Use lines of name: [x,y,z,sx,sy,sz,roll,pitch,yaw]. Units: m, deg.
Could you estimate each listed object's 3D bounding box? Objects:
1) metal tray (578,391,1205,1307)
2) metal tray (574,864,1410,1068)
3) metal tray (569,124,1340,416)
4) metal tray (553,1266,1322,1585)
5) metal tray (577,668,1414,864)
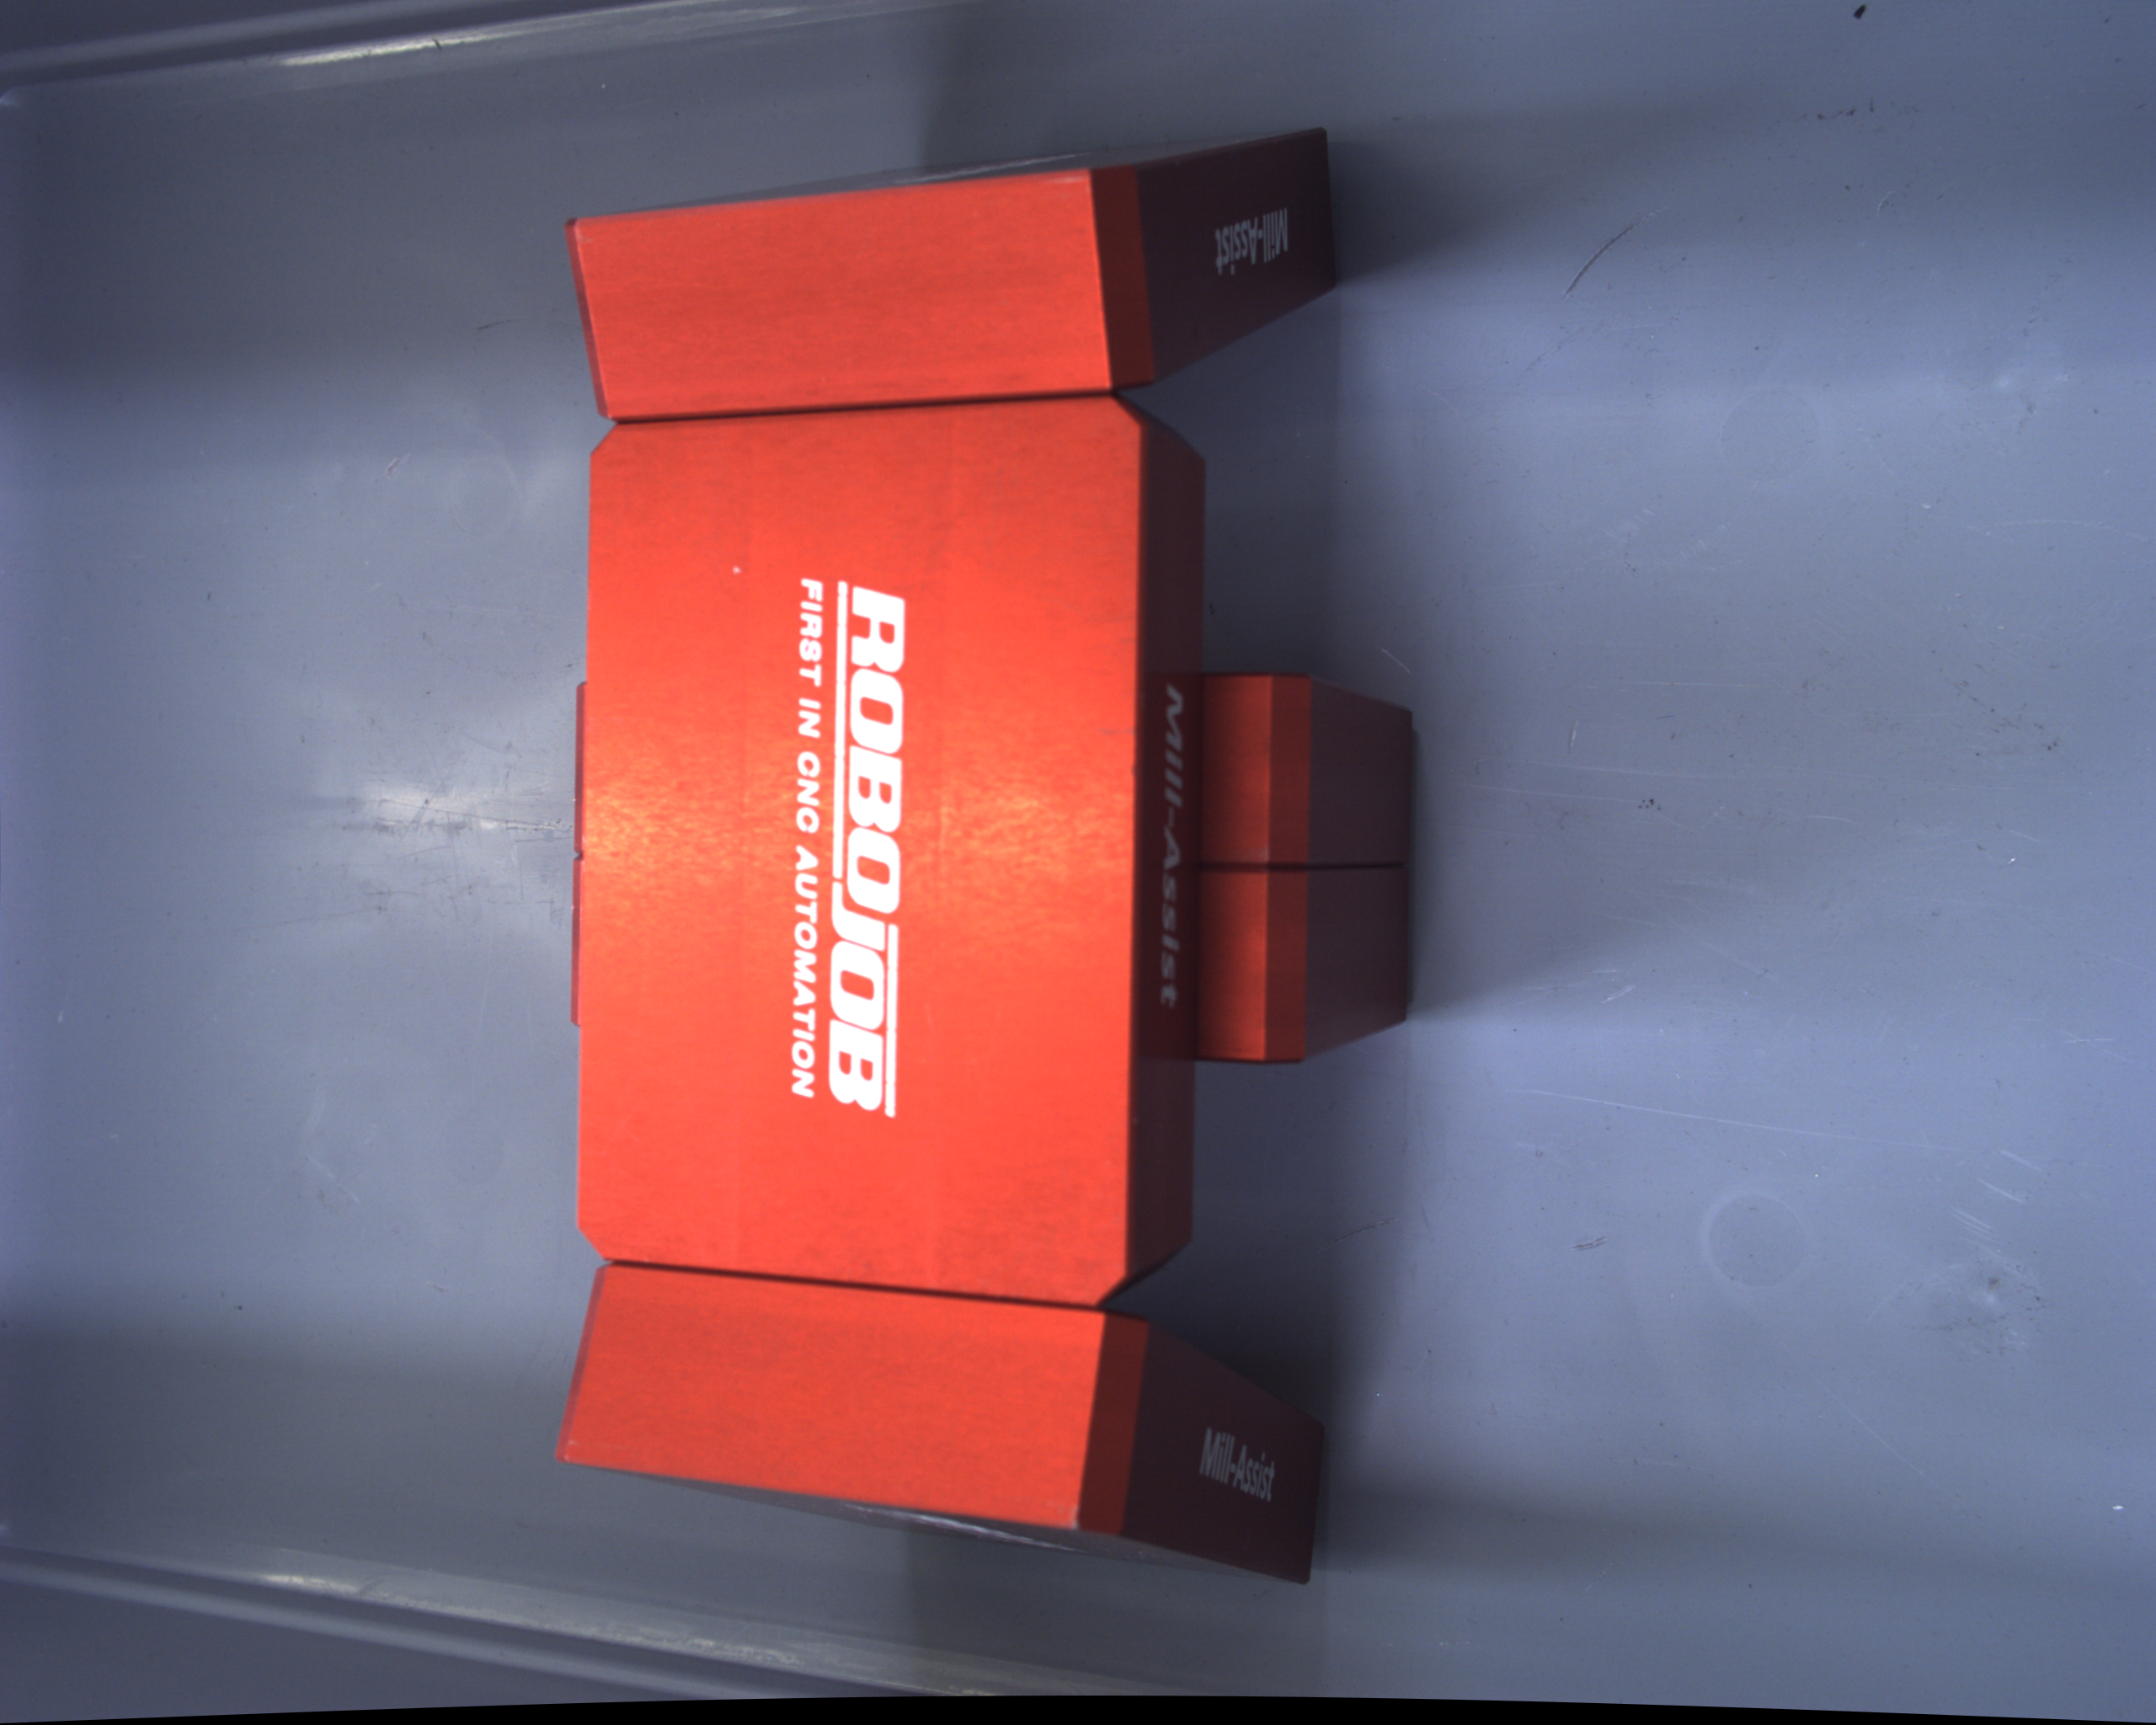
metal tray: [-0.029,-0.003,0.320,0.090,0.030,0.129,1,90,19]
metal tray: [-0.012,0.015,0.380,0.130,0.090,0.030,1,91,20]
metal tray: [-0.013,-0.104,0.357,0.090,0.131,0.030,1,111,20]
metal tray: [-0.016,0.099,0.357,0.090,0.130,0.030,1,69,19]
metal tray: [-0.012,-0.016,0.379,0.130,0.090,0.030,1,91,20]
